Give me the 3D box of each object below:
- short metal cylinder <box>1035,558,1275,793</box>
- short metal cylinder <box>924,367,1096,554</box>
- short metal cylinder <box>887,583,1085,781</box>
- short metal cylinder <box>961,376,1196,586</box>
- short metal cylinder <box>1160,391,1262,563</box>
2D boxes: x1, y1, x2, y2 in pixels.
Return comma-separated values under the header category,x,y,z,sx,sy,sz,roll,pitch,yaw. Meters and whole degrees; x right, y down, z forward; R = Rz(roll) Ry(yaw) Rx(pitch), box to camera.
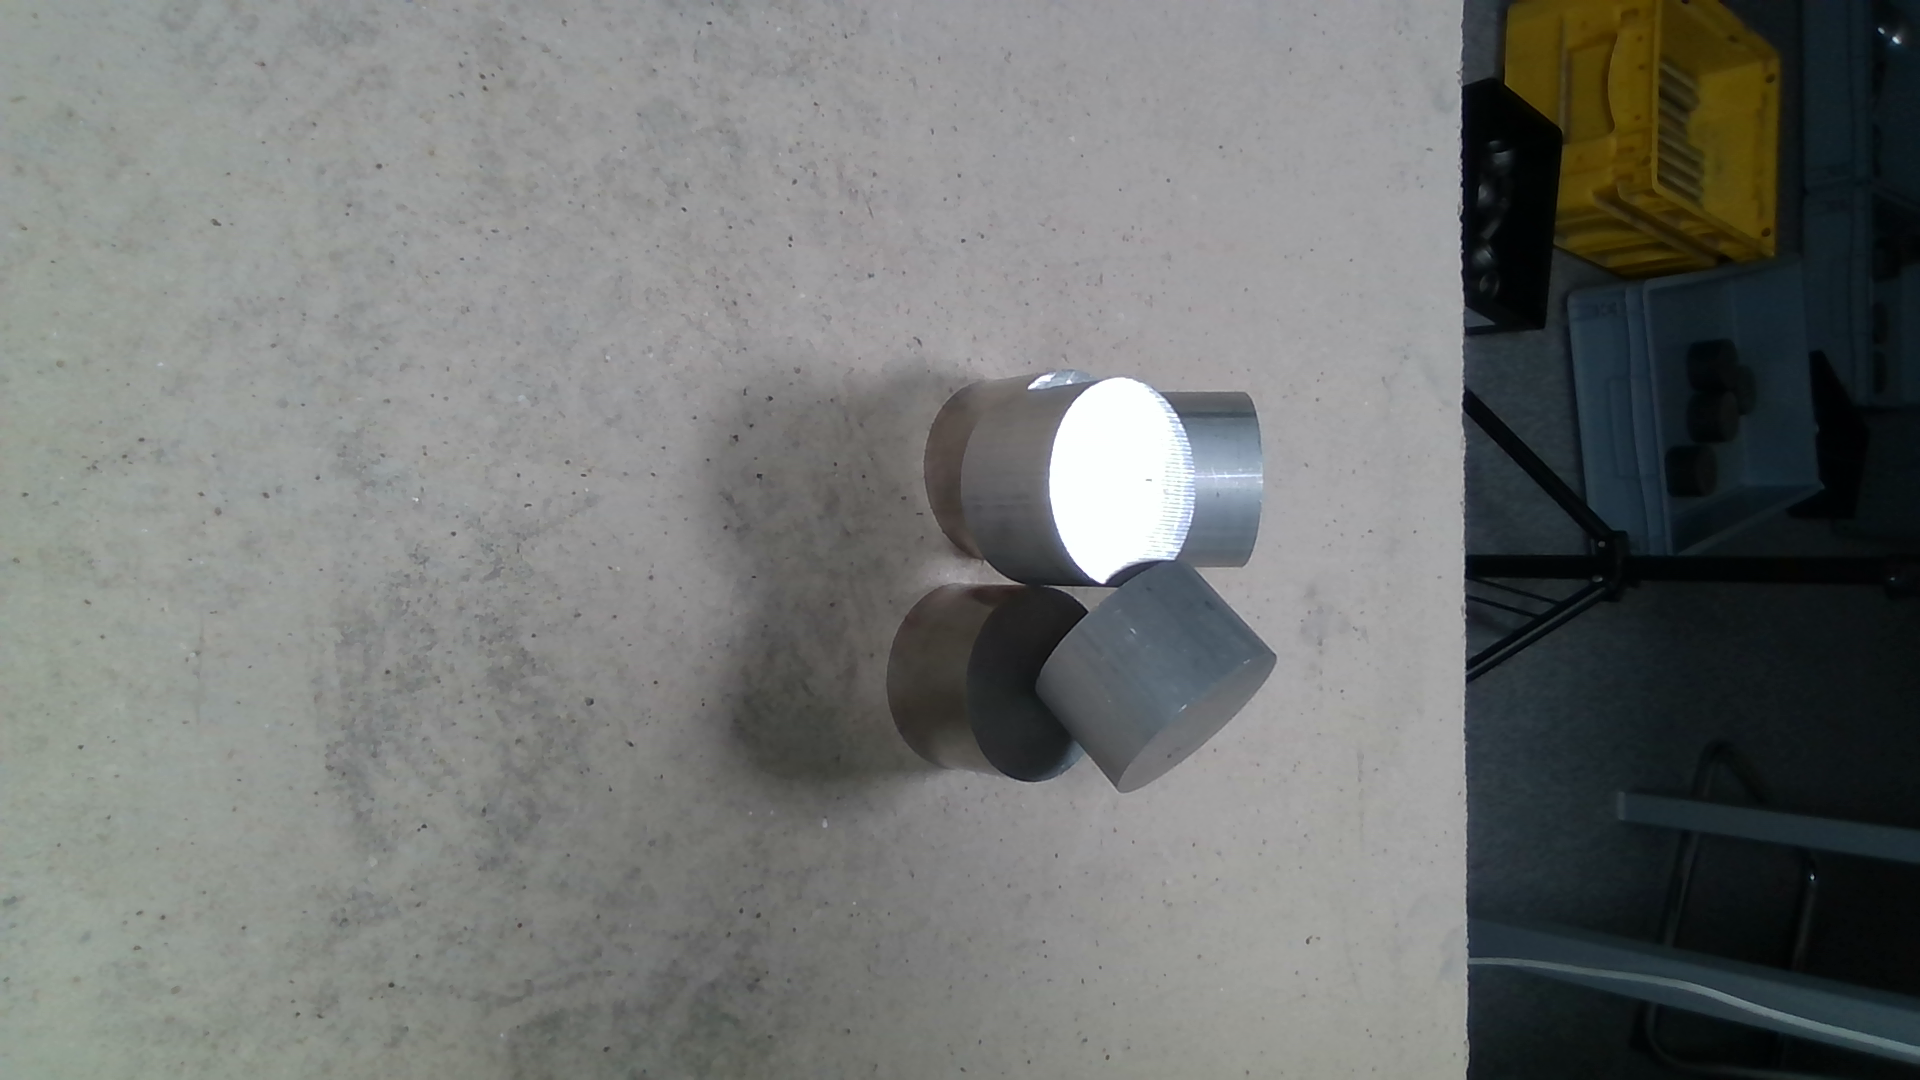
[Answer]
category,x,y,z,sx,sy,sz,roll,pitch,yaw
short metal cylinder,0.076,0.053,0.537,0.080,0.080,0.050,-22,61,-38
short metal cylinder,0.031,-0.032,0.593,0.080,0.050,0.080,0,90,-40
short metal cylinder,0.016,0.058,0.580,0.080,0.050,0.080,0,90,-40
short metal cylinder,0.047,-0.022,0.541,0.080,0.050,0.080,0,90,-40
short metal cylinder,0.103,-0.028,0.626,0.050,0.080,0.080,0,90,-1
